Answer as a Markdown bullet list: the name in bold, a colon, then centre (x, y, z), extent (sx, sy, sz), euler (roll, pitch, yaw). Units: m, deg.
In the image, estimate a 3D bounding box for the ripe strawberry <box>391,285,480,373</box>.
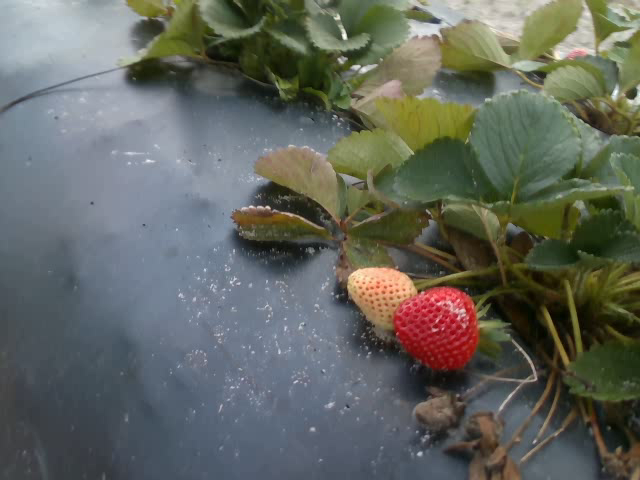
- **ripe strawberry**: centre (0.044, 0.032, 0.233), extent (0.042, 0.034, 0.033), euler (24, -47, -33)
